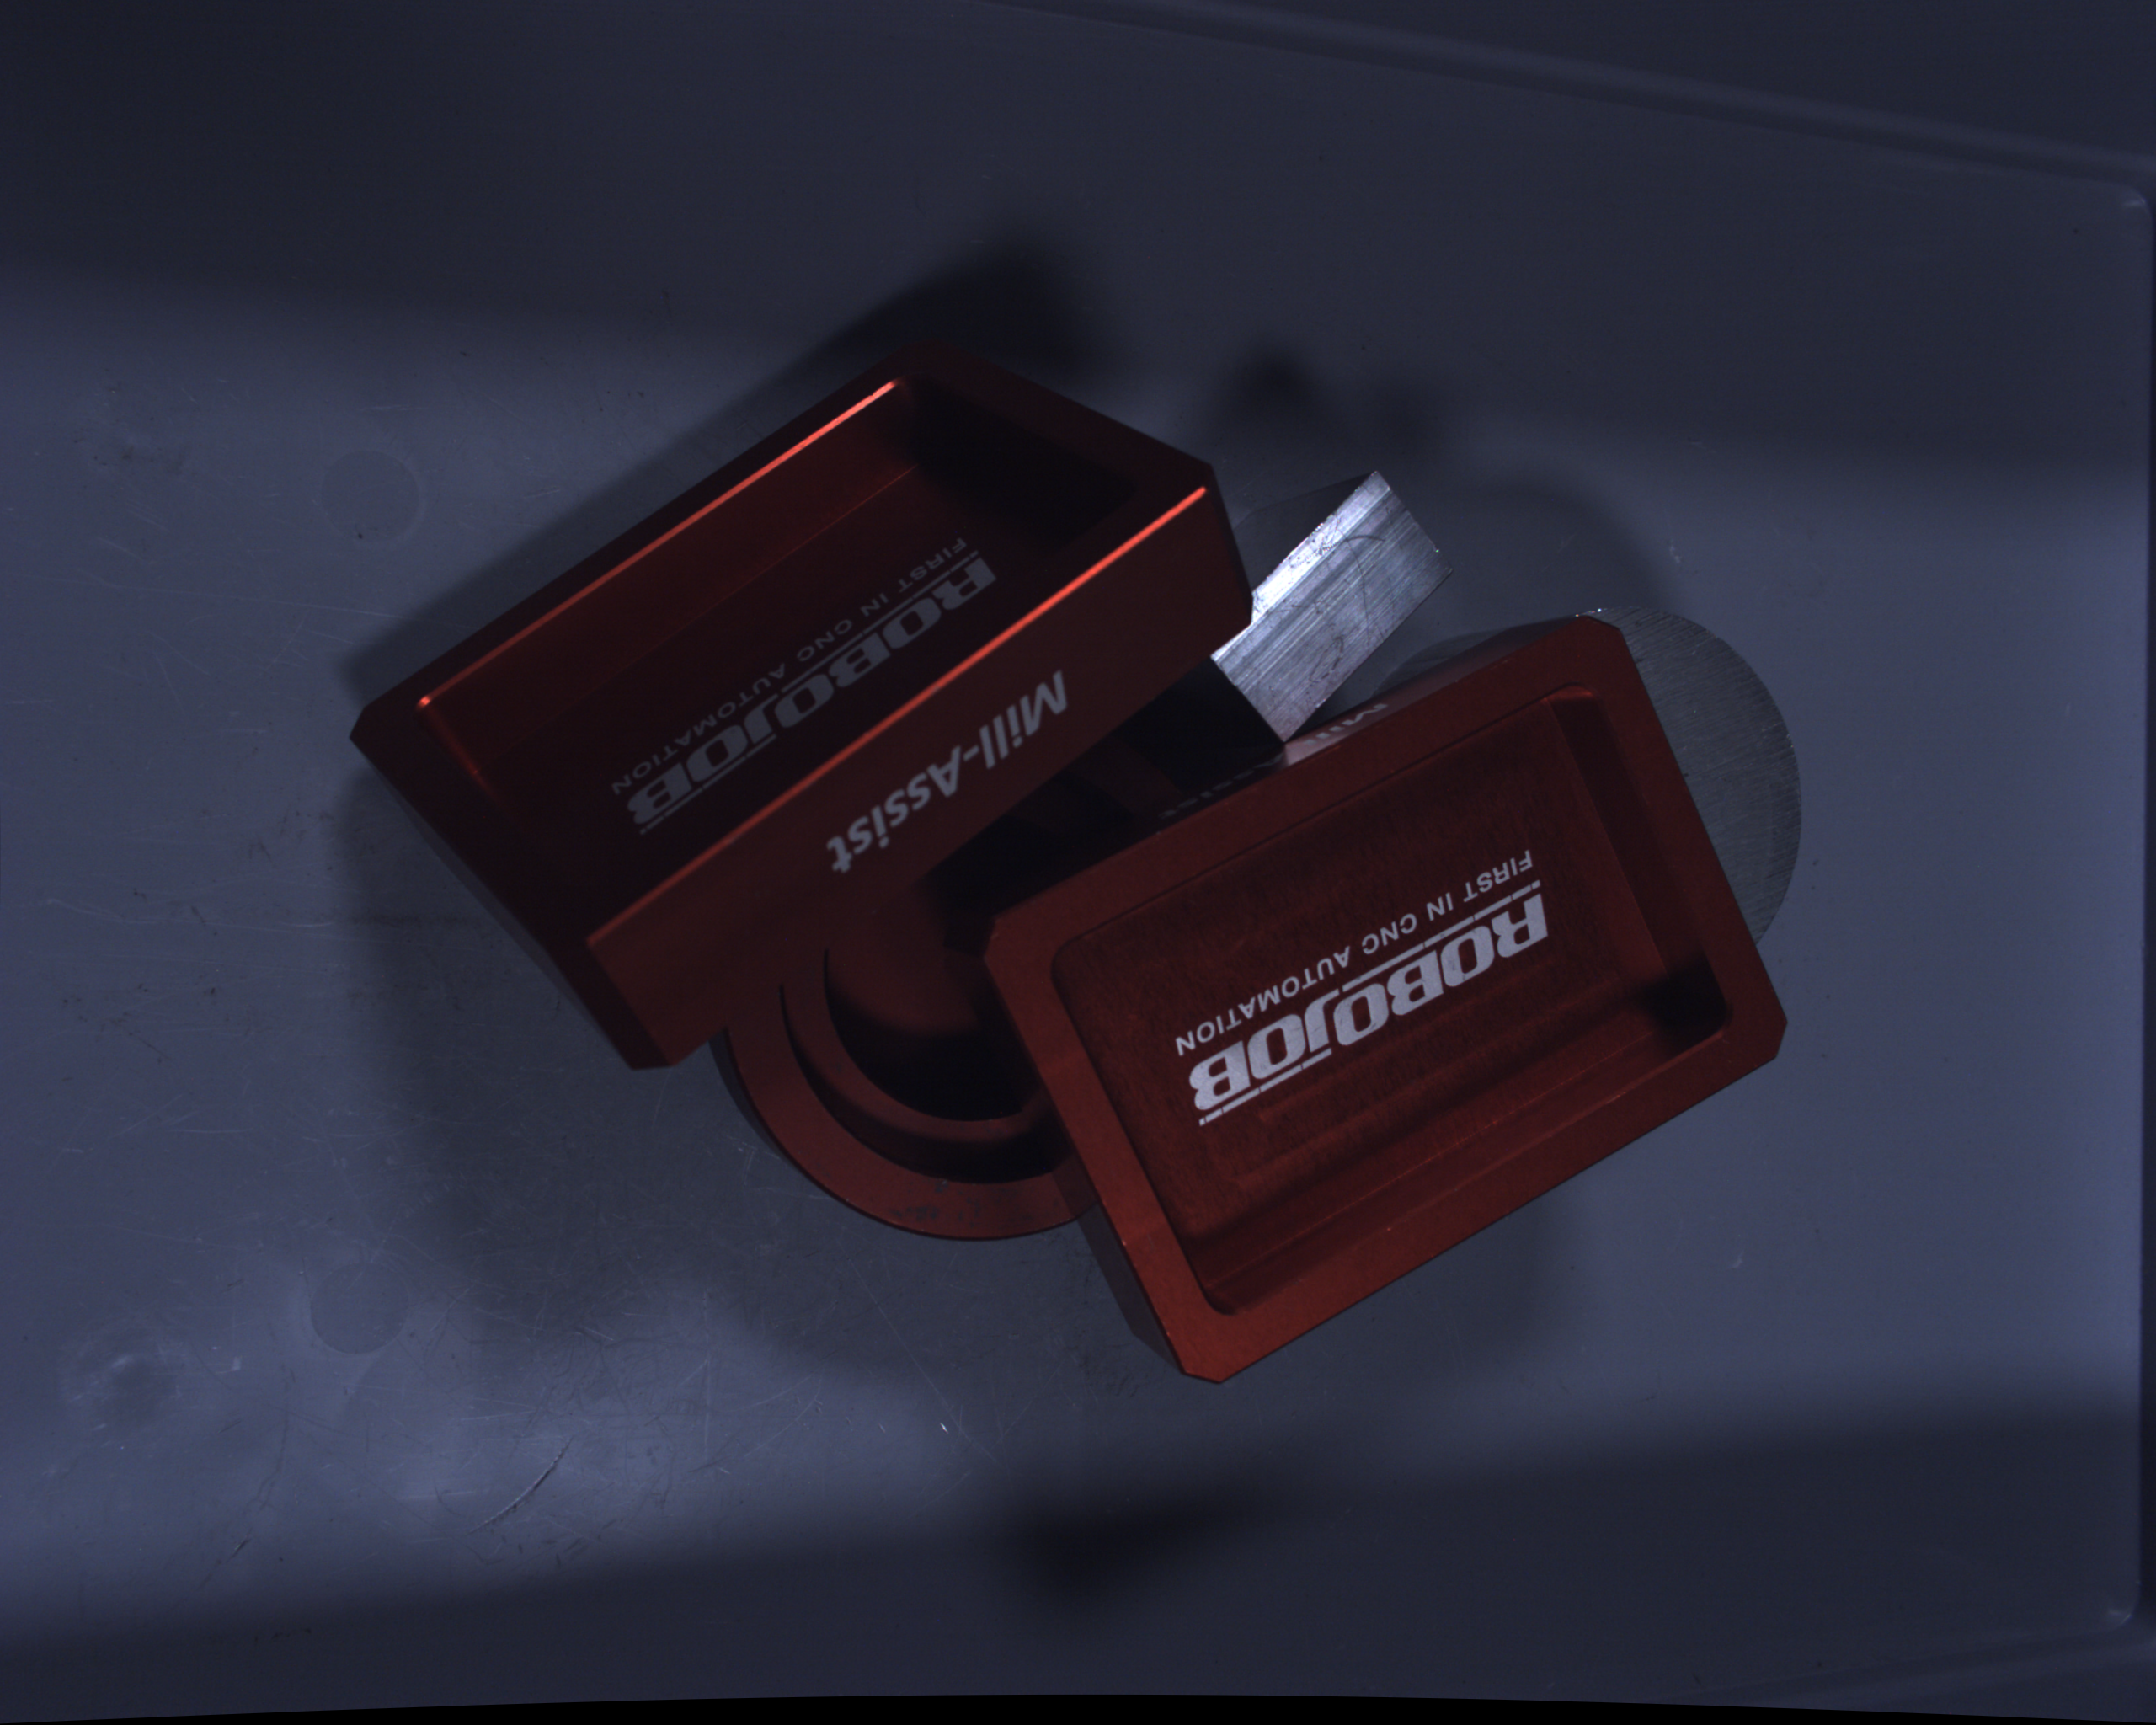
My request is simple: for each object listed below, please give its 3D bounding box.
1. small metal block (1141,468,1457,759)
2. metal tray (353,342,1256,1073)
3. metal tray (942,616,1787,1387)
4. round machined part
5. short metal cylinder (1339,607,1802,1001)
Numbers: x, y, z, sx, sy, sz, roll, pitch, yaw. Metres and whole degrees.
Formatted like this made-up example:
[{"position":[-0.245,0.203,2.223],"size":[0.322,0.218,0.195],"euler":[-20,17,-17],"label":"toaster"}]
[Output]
[{"position":[0.038,-0.048,0.410],"size":[0.050,0.050,0.025],"euler":[-45,105,-16],"label":"small metal block"},{"position":[-0.046,-0.033,0.356],"size":[0.131,0.090,0.030],"euler":[-38,135,-17],"label":"metal tray"},{"position":[0.053,0.022,0.376],"size":[0.131,0.030,0.090],"euler":[-27,99,-14],"label":"metal tray"},{"position":[-0.023,0.019,0.394],"size":[0.099,0.042,0.097],"euler":[0,90,-21],"label":"round machined part"},{"position":[0.101,-0.011,0.434],"size":[0.081,0.050,0.079],"euler":[0,90,-21],"label":"short metal cylinder"}]
